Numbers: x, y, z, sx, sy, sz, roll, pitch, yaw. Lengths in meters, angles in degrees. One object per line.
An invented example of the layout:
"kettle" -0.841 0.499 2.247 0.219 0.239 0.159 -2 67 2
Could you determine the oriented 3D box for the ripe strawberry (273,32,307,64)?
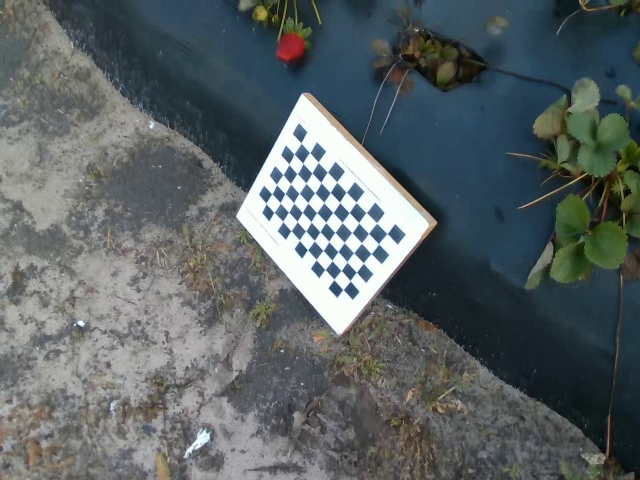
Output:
"ripe strawberry" -0.046 -0.289 1.042 0.045 0.042 0.055 -3 39 43
